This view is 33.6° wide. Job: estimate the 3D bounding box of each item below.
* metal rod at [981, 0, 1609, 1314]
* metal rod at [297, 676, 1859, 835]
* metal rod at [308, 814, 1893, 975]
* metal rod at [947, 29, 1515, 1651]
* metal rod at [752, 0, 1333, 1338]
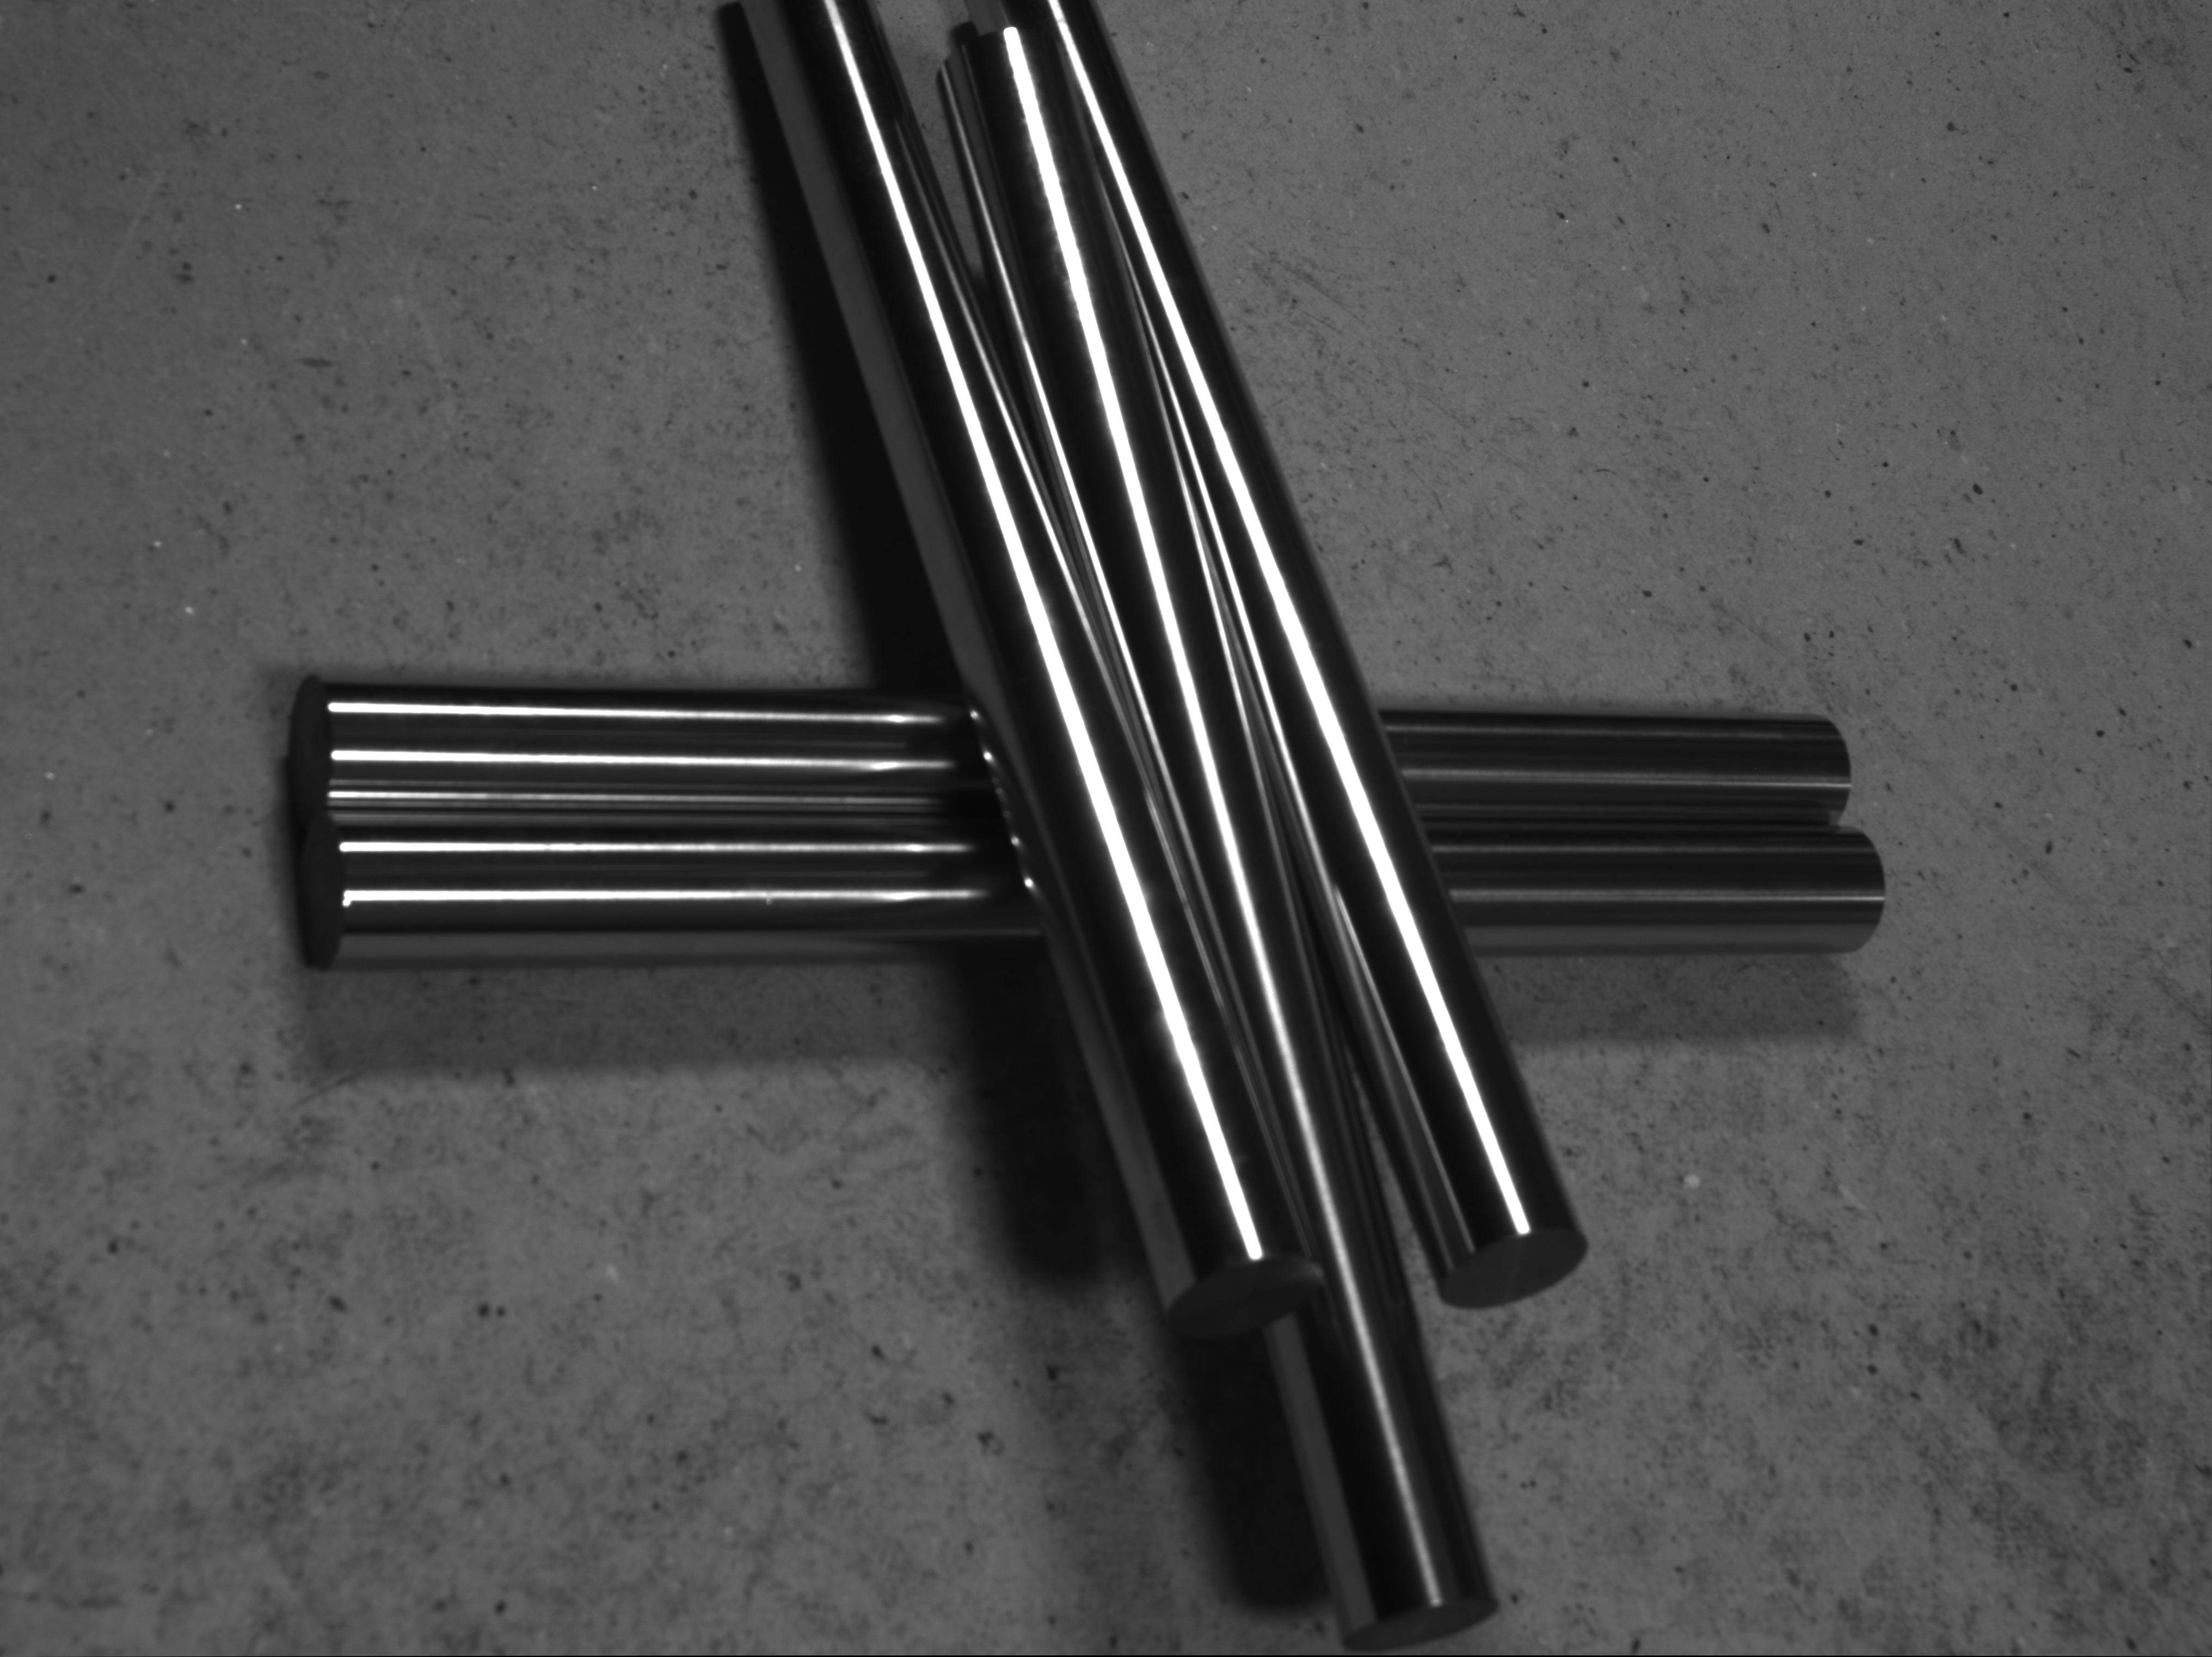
[{"bbox_3d":[0.027,-0.050,0.657,0.025,0.025,0.300,0,53,-28],"label":"metal rod"},{"bbox_3d":[0.008,-0.011,0.652,0.301,0.025,0.025,0,61,-28],"label":"metal rod"},{"bbox_3d":[0.012,0.011,0.641,0.301,0.025,0.025,0,61,-28],"label":"metal rod"},{"bbox_3d":[0.016,-0.010,0.622,0.025,0.025,0.300,0,61,-28],"label":"metal rod"},{"bbox_3d":[-0.018,-0.050,0.634,0.025,0.025,0.300,0,53,-28],"label":"metal rod"}]
